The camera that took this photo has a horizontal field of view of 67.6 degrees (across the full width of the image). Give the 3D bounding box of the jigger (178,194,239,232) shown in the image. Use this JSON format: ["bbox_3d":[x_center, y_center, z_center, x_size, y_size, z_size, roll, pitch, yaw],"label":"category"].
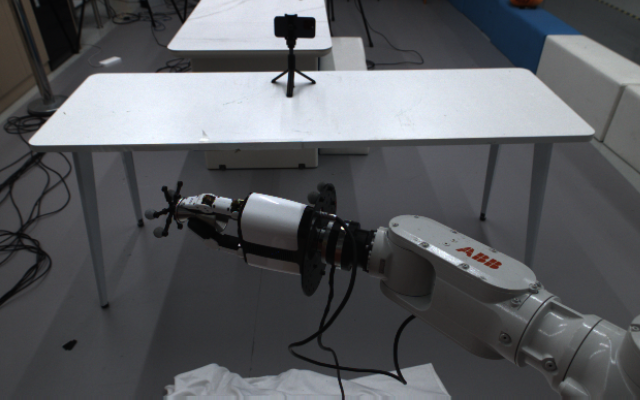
[{"bbox_3d":[-0.170,0.016,0.721,0.071,0.043,0.043,9,35,16],"label":"jigger"}]
